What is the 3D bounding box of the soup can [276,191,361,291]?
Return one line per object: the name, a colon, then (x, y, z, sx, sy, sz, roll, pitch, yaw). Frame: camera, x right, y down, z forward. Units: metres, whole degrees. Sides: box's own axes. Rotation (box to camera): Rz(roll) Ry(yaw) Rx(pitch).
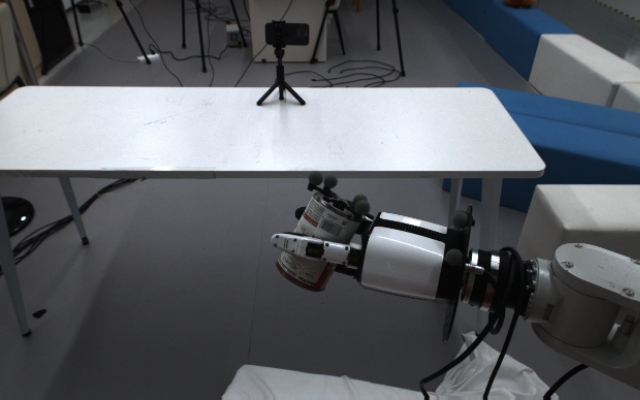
soup can: (0.001, 0.050, 0.584, 0.067, 0.101, 0.067, 27, 10, -5)
